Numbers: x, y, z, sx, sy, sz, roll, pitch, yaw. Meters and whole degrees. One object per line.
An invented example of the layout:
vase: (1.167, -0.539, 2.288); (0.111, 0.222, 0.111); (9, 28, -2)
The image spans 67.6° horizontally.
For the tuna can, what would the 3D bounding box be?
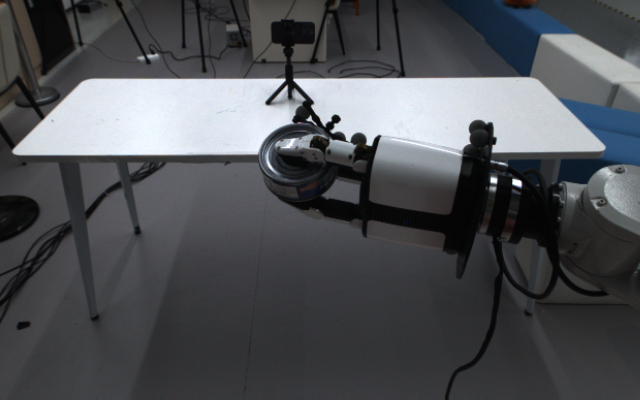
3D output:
tuna can: (-0.019, -0.037, 0.529); (0.085, 0.034, 0.085); (-4, 58, 6)
